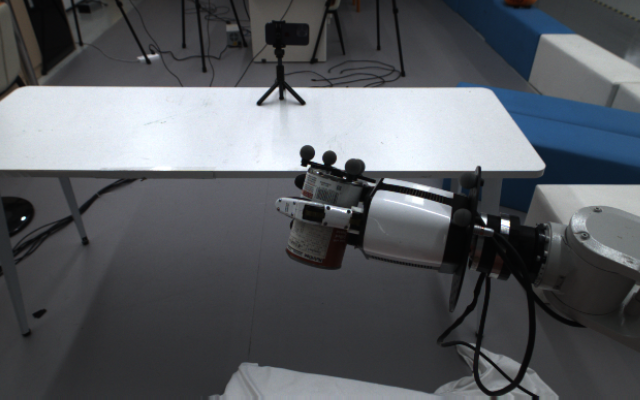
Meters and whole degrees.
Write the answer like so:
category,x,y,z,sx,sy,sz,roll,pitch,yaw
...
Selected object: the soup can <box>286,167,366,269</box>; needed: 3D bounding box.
category,x,y,z,sx,sy,sz,roll,pitch,yaw
soup can,0.007,0.020,0.554,0.067,0.101,0.067,15,7,-2
